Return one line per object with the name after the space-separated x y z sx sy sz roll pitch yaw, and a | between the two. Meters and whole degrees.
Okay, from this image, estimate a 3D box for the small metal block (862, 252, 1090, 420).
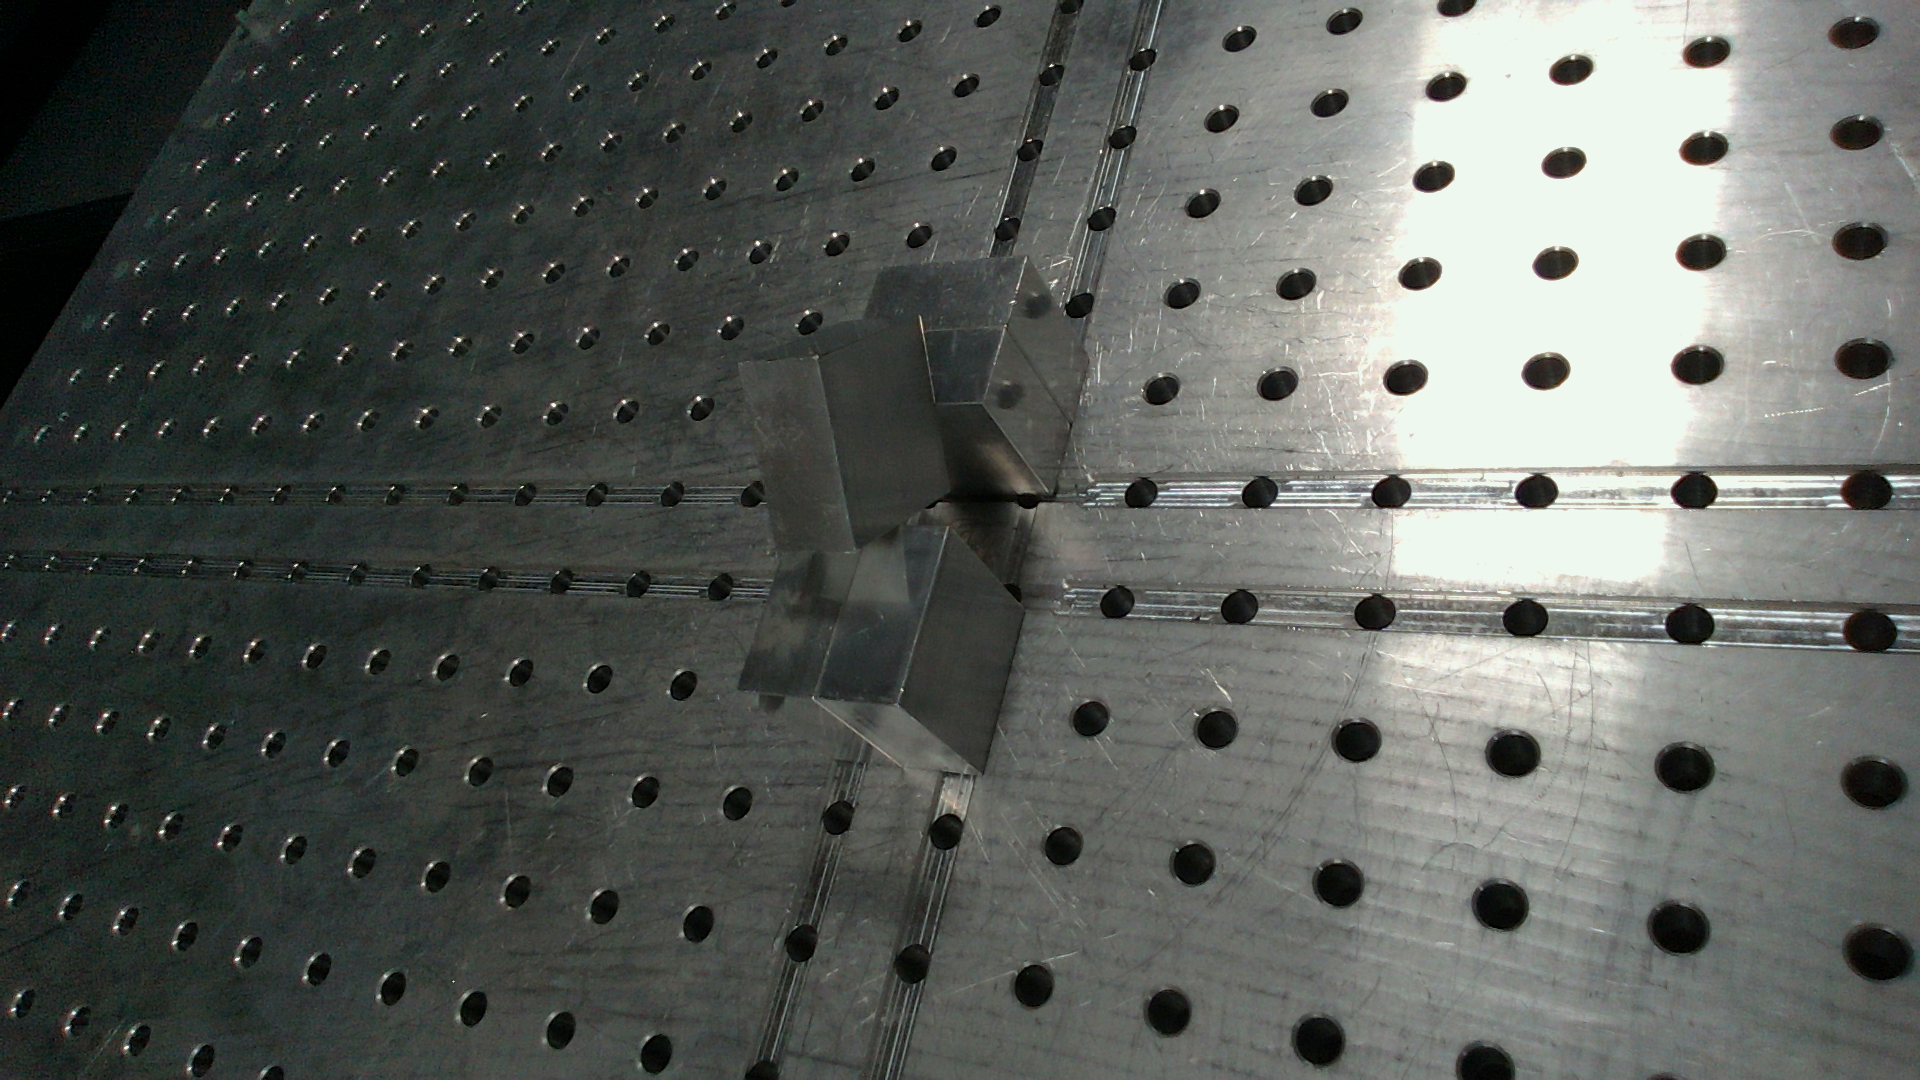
0.005 -0.059 0.414 0.050 0.050 0.025 2 63 29 | small metal block

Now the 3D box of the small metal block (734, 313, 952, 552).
-0.029 -0.029 0.361 0.025 0.050 0.050 0 19 30 | small metal block

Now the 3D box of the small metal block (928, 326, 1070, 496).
-0.002 -0.037 0.404 0.050 0.050 0.025 2 63 29 | small metal block

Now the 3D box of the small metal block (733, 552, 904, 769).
-0.031 0.029 0.379 0.025 0.050 0.050 1 62 29 | small metal block

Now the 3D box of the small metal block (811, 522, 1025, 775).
-0.009 0.029 0.366 0.025 0.050 0.050 1 62 29 | small metal block
